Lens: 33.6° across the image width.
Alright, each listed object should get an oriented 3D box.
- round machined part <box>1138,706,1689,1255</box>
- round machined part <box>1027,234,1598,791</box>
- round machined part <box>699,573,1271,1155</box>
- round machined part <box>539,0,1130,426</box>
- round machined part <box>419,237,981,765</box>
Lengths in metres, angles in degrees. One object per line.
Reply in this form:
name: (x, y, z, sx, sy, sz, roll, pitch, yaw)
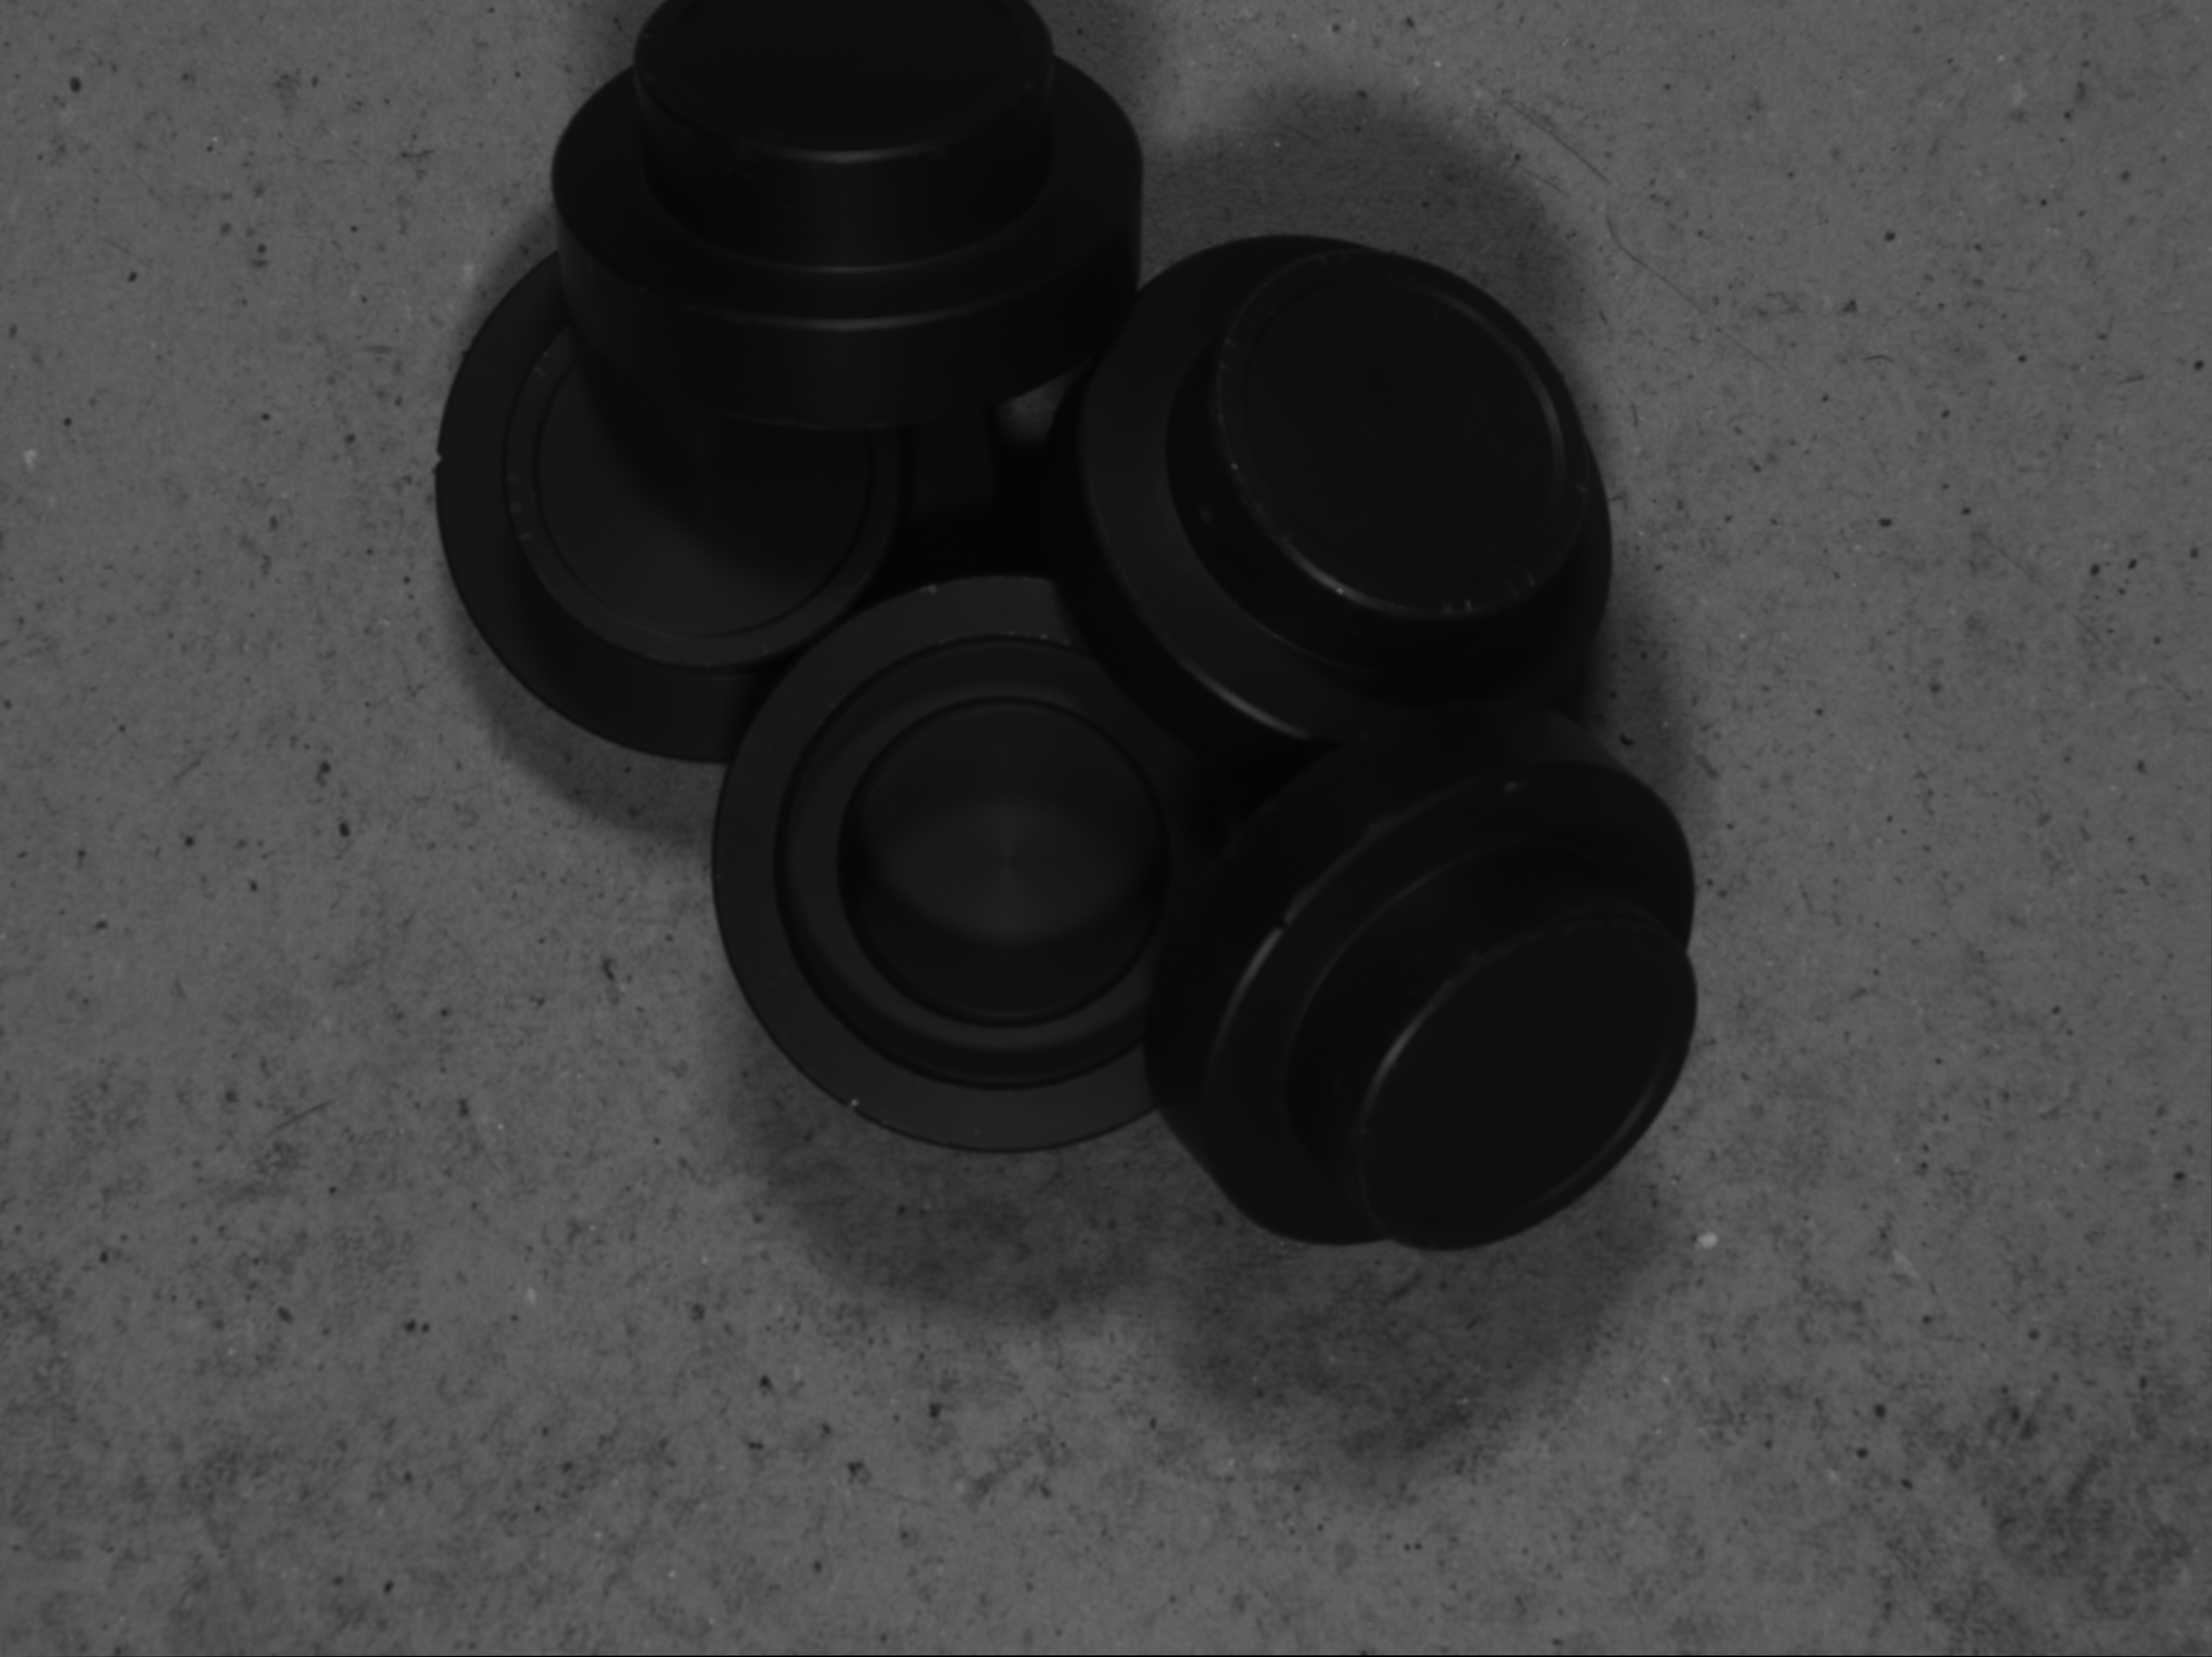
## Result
round machined part: (0.058, 0.032, 0.610, 0.098, 0.098, 0.042, -43, 49, 0)
round machined part: (0.039, -0.058, 0.615, 0.098, 0.042, 0.098, 9, 65, -19)
round machined part: (-0.020, 0.006, 0.636, 0.098, 0.042, 0.098, 0, 90, 0)
round machined part: (-0.045, -0.112, 0.607, 0.098, 0.098, 0.042, 1, 132, 0)
round machined part: (-0.071, -0.060, 0.637, 0.098, 0.042, 0.098, 0, 90, 0)
